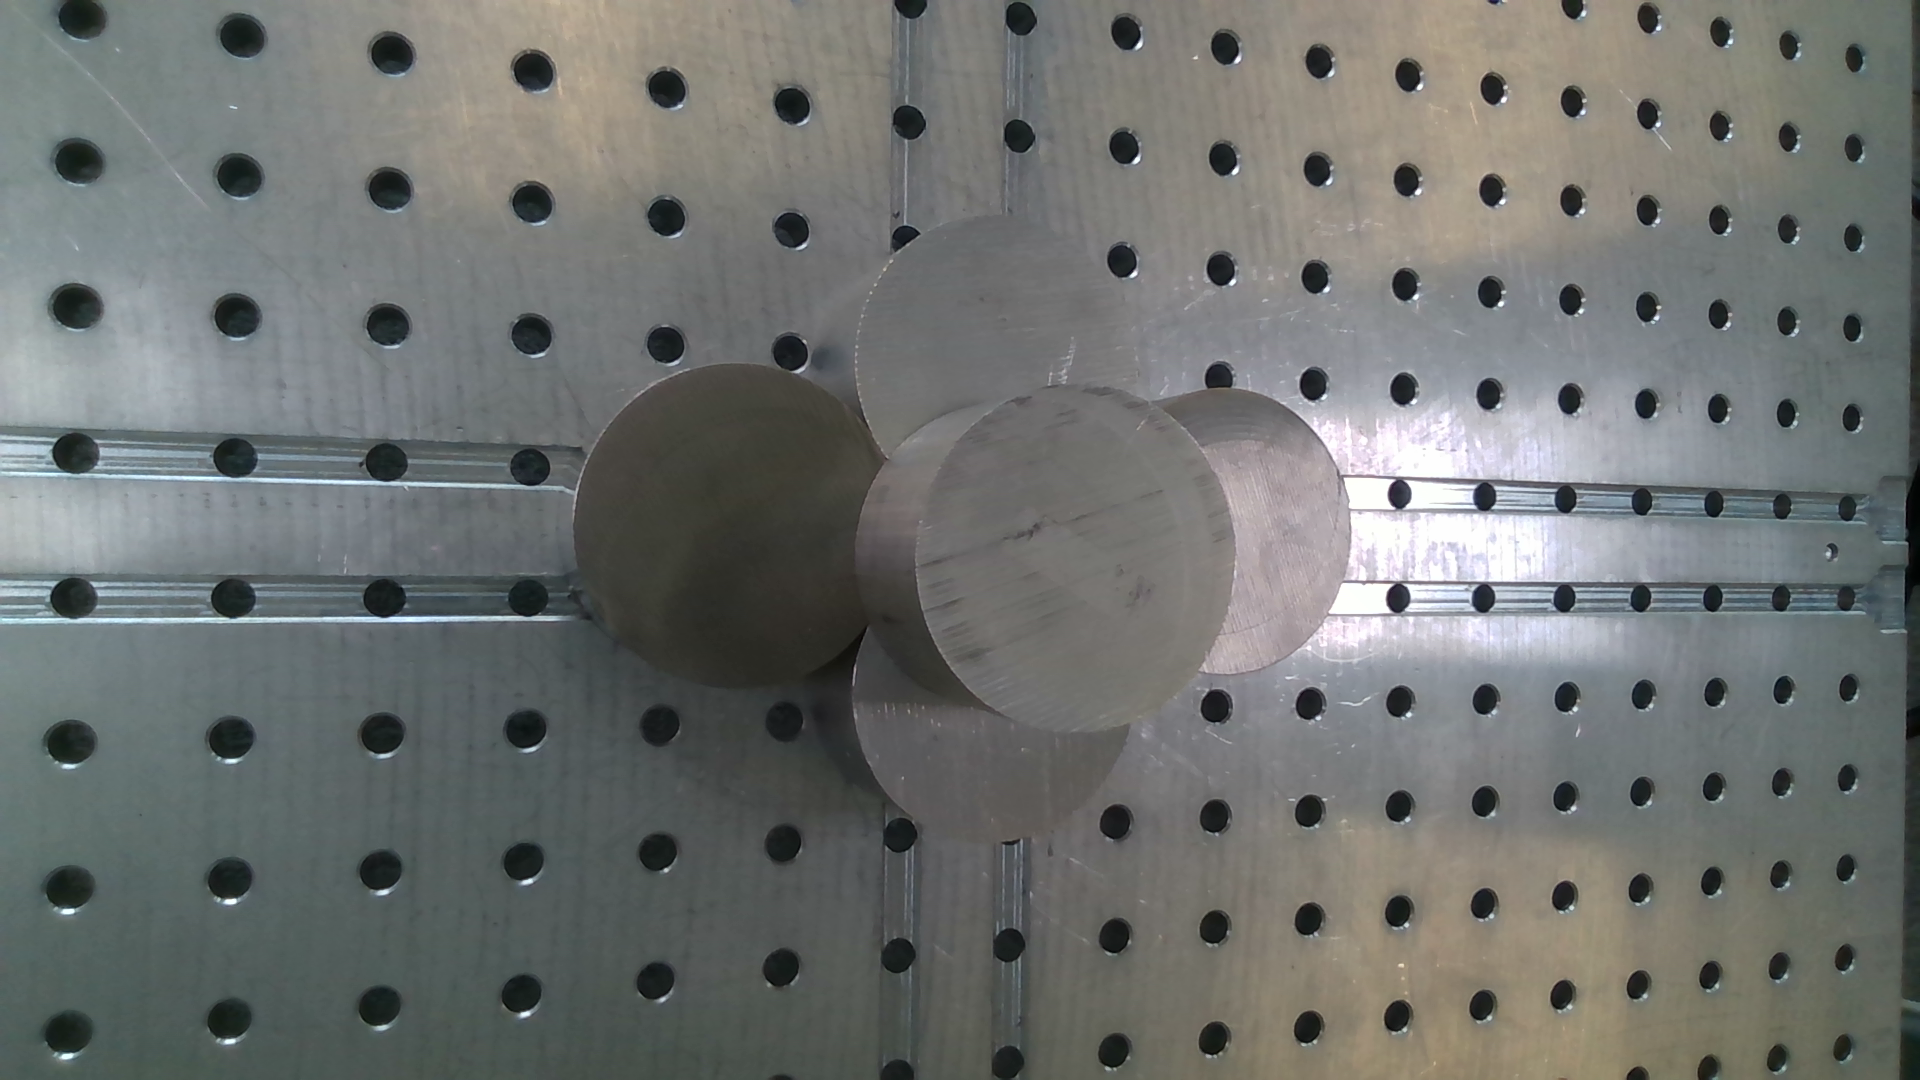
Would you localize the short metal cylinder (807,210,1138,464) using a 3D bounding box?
[{"bbox_3d":[0.002,-0.046,0.384,0.080,0.050,0.080,0,90,-20],"label":"short metal cylinder"}]

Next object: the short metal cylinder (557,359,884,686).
[{"bbox_3d":[-0.062,-0.004,0.360,0.080,0.050,0.080,0,90,-22],"label":"short metal cylinder"}]

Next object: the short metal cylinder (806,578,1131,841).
[{"bbox_3d":[0.002,0.039,0.383,0.080,0.050,0.080,0,90,-20],"label":"short metal cylinder"}]

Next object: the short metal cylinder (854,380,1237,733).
[{"bbox_3d":[0.019,0.004,0.336,0.080,0.050,0.080,0,90,-20],"label":"short metal cylinder"}]

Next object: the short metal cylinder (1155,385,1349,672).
[{"bbox_3d":[0.066,-0.003,0.407,0.080,0.050,0.080,0,91,-20],"label":"short metal cylinder"}]
